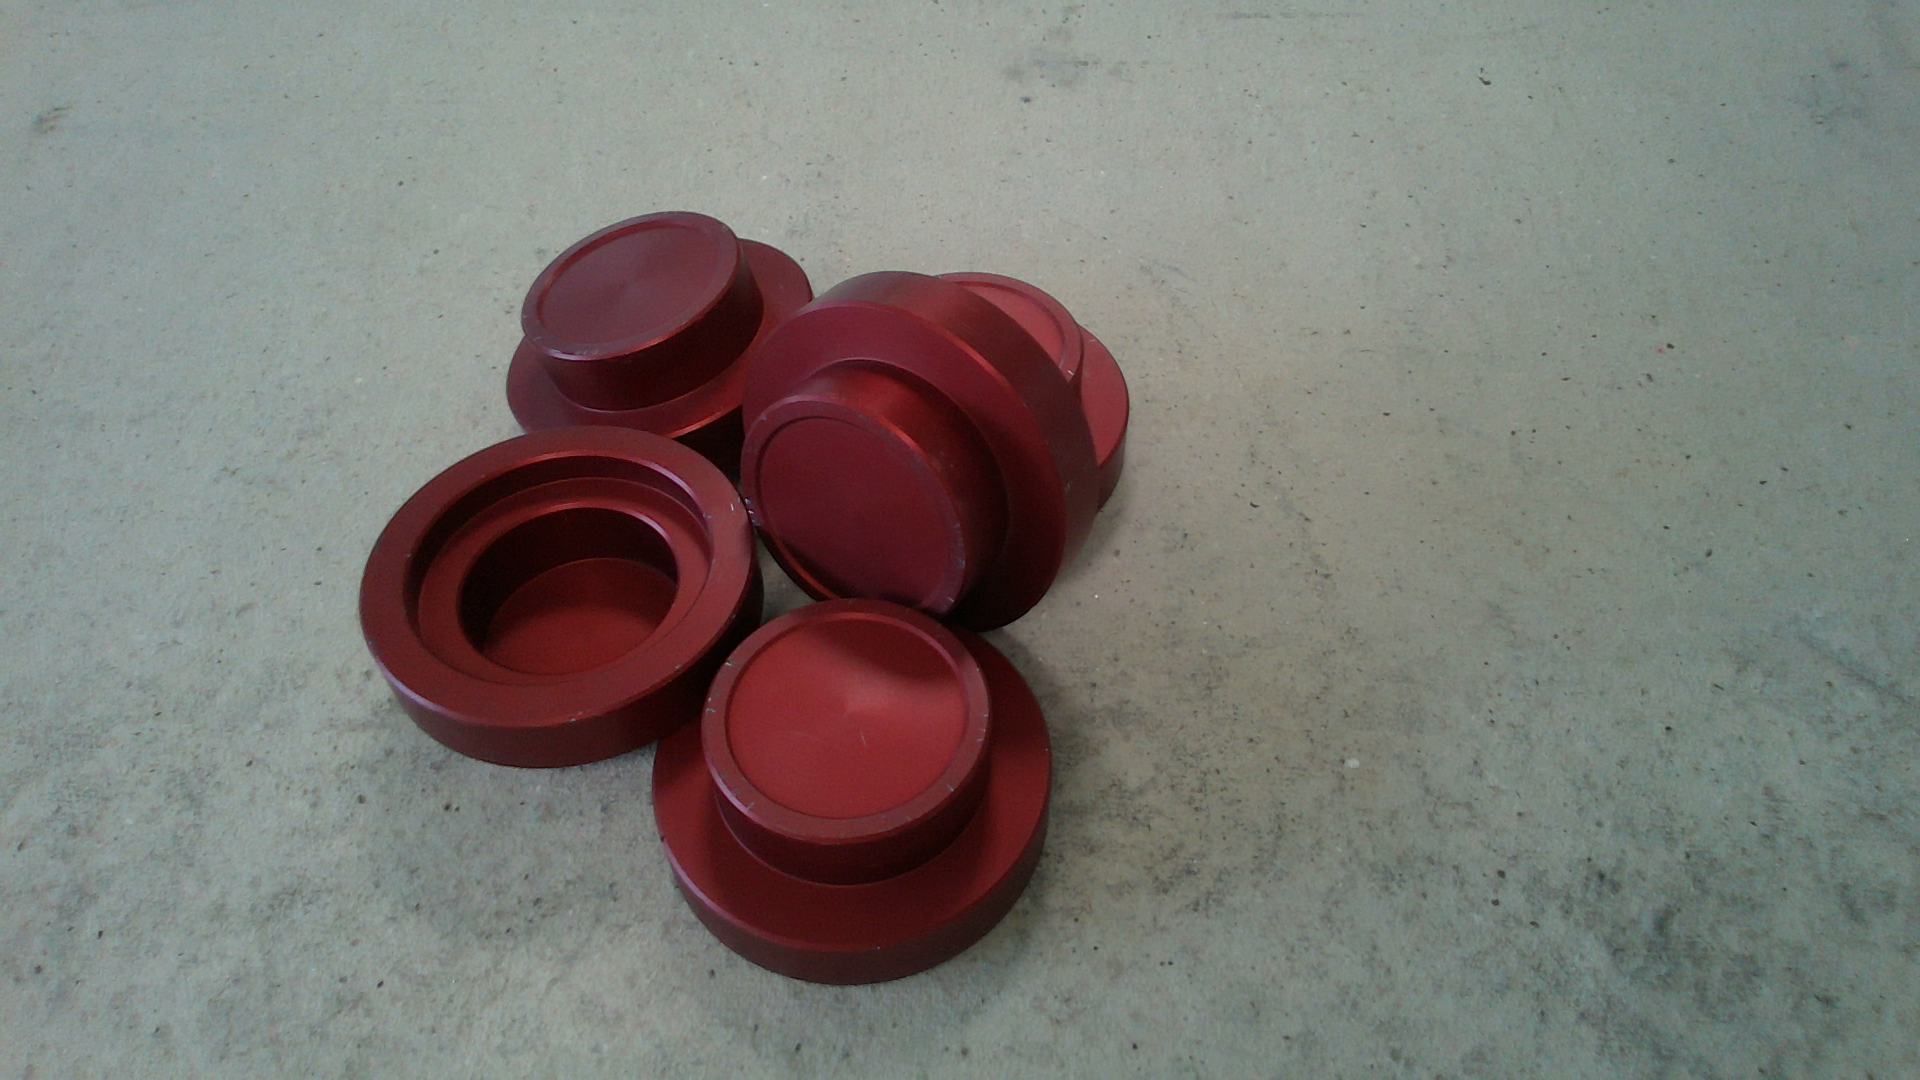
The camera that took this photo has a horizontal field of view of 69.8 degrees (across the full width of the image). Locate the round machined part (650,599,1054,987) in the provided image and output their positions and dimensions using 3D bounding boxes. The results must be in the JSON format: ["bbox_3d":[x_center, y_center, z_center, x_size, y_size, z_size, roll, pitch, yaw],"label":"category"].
[{"bbox_3d":[-0.026,0.053,0.335,0.098,0.042,0.098,1,48,0],"label":"round machined part"}]

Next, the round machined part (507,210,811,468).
[{"bbox_3d":[-0.093,-0.063,0.420,0.098,0.042,0.098,-9,47,10],"label":"round machined part"}]

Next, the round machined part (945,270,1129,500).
[{"bbox_3d":[0.003,-0.045,0.418,0.098,0.042,0.098,1,49,0],"label":"round machined part"}]

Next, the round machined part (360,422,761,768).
[{"bbox_3d":[-0.102,0.018,0.365,0.098,0.042,0.098,0,51,0],"label":"round machined part"}]

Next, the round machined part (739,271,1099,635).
[{"bbox_3d":[-0.017,-0.015,0.354,0.098,0.098,0.042,23,40,19],"label":"round machined part"}]
